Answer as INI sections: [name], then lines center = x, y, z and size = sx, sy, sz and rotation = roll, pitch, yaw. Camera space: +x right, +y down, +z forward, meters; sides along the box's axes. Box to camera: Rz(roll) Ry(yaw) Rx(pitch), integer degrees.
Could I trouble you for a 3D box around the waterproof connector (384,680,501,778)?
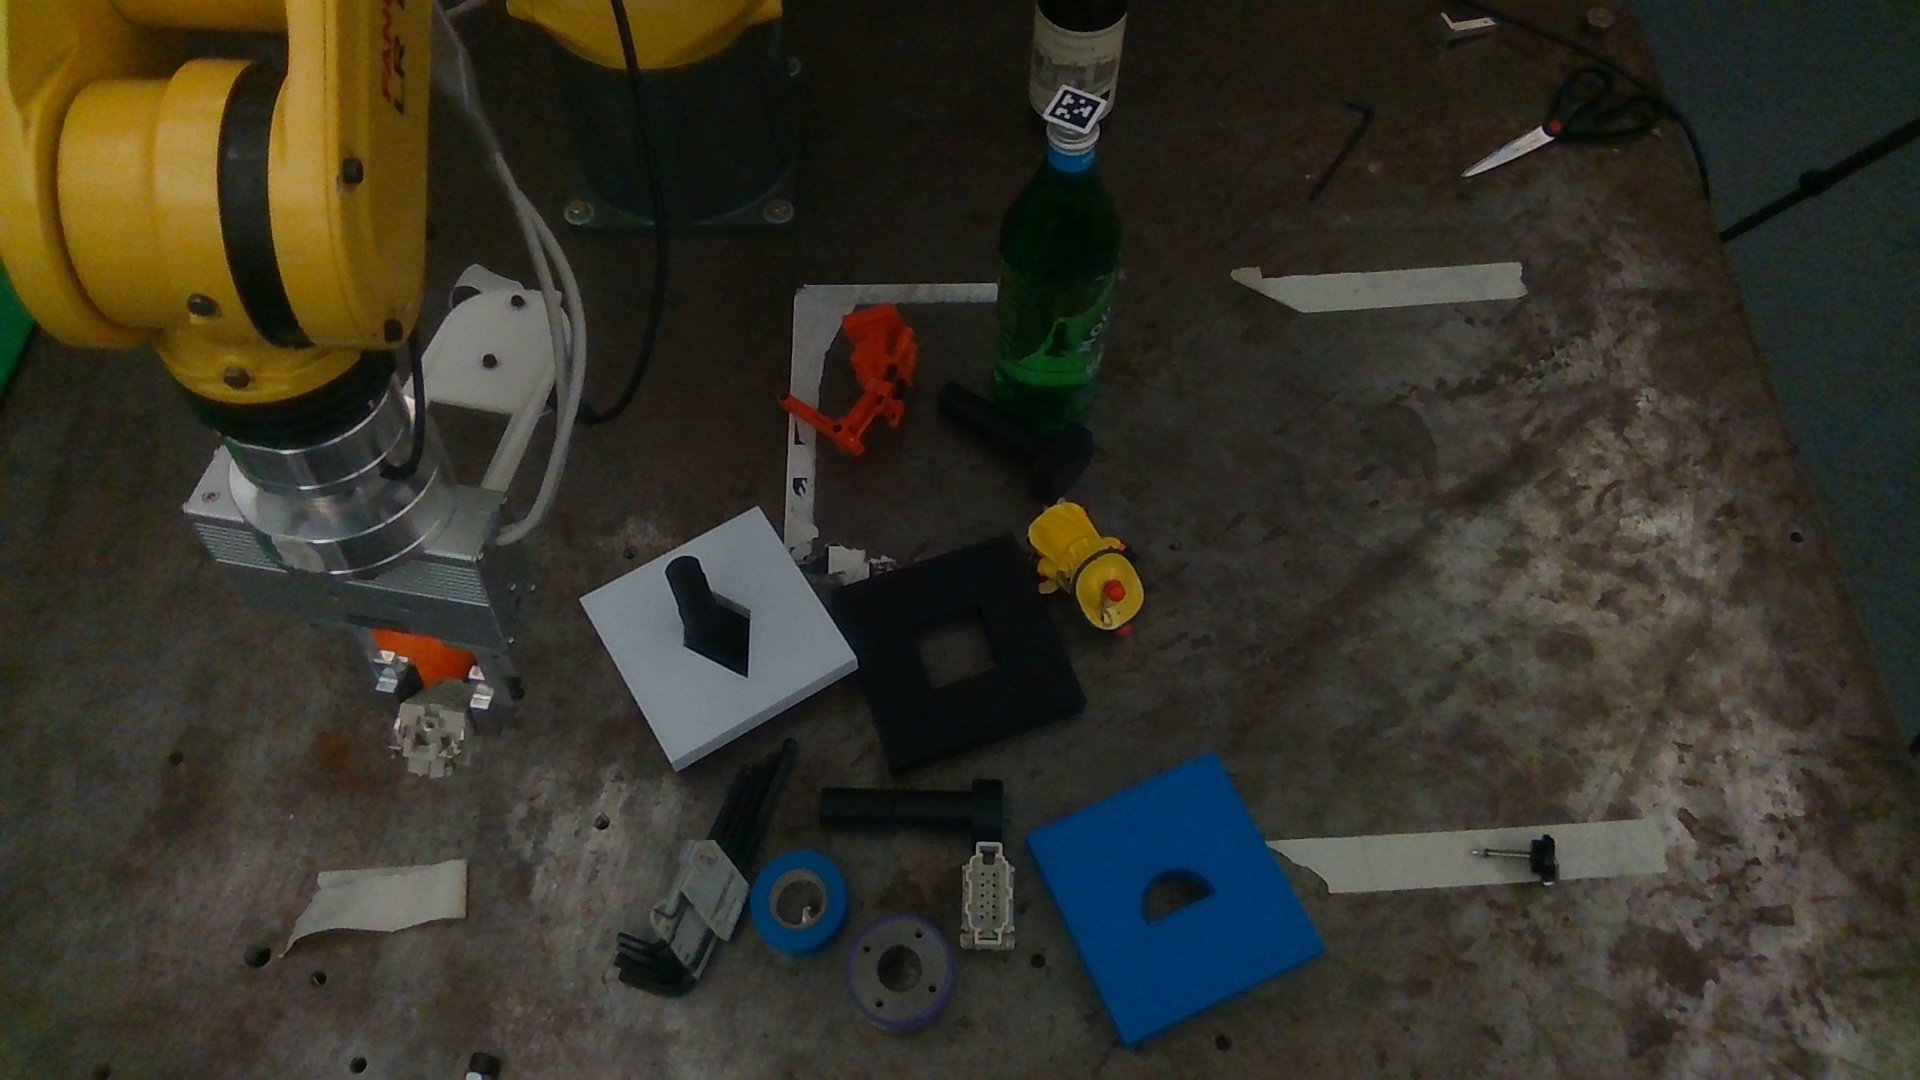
[waterproof connector]
center = -0.276, 0.101, 0.744
size = 0.037, 0.069, 0.038
rotation = 7, 101, 4
